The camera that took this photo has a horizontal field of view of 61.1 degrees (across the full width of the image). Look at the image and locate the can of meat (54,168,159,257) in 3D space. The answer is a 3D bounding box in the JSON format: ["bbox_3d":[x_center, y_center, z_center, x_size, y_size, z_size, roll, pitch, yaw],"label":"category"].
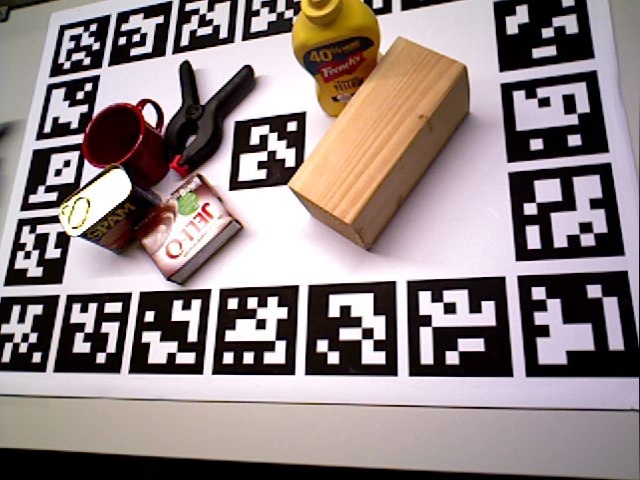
[{"bbox_3d":[-0.261,-0.030,0.675,0.102,0.084,0.057,-33,67,5],"label":"can of meat"}]

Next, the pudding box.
[{"bbox_3d":[-0.160,-0.007,0.665,0.114,0.039,0.090,-41,66,1],"label":"pudding box"}]

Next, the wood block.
[{"bbox_3d":[0.076,-0.094,0.590,0.090,0.091,0.205,36,84,26],"label":"wood block"}]

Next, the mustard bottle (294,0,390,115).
[{"bbox_3d":[0.025,-0.208,0.582,0.097,0.192,0.058,-8,70,15],"label":"mustard bottle"}]

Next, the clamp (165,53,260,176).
[{"bbox_3d":[-0.158,-0.166,0.720,0.122,0.036,0.164,16,81,20],"label":"clamp"}]

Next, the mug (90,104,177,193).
[{"bbox_3d":[-0.239,-0.124,0.729,0.093,0.081,0.117,20,81,22],"label":"mug"}]
